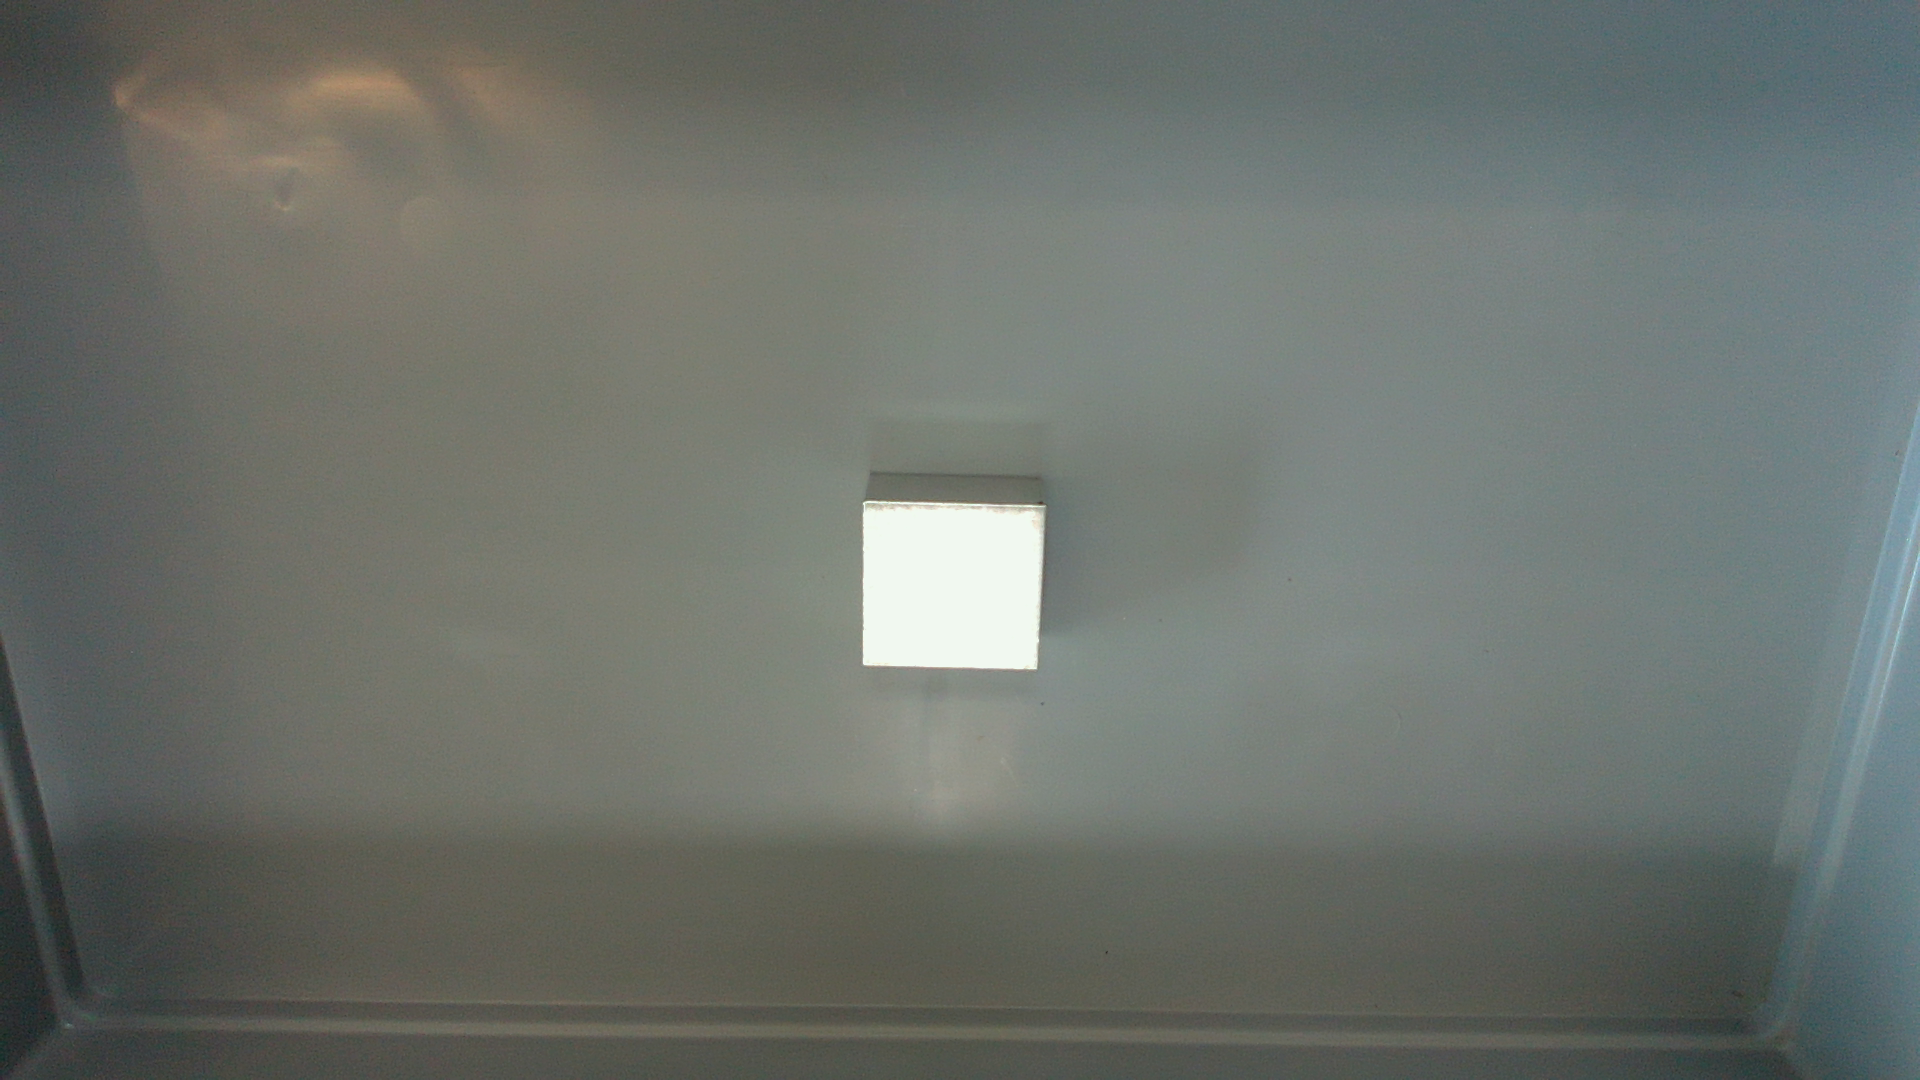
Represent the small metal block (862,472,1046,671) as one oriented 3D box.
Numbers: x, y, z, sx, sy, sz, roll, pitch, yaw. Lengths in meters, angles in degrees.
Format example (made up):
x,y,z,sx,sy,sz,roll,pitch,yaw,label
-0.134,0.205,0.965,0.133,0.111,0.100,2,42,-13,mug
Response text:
x,y,z,sx,sy,sz,roll,pitch,yaw,label
-0.002,0.009,0.394,0.050,0.025,0.050,2,110,0,small metal block
